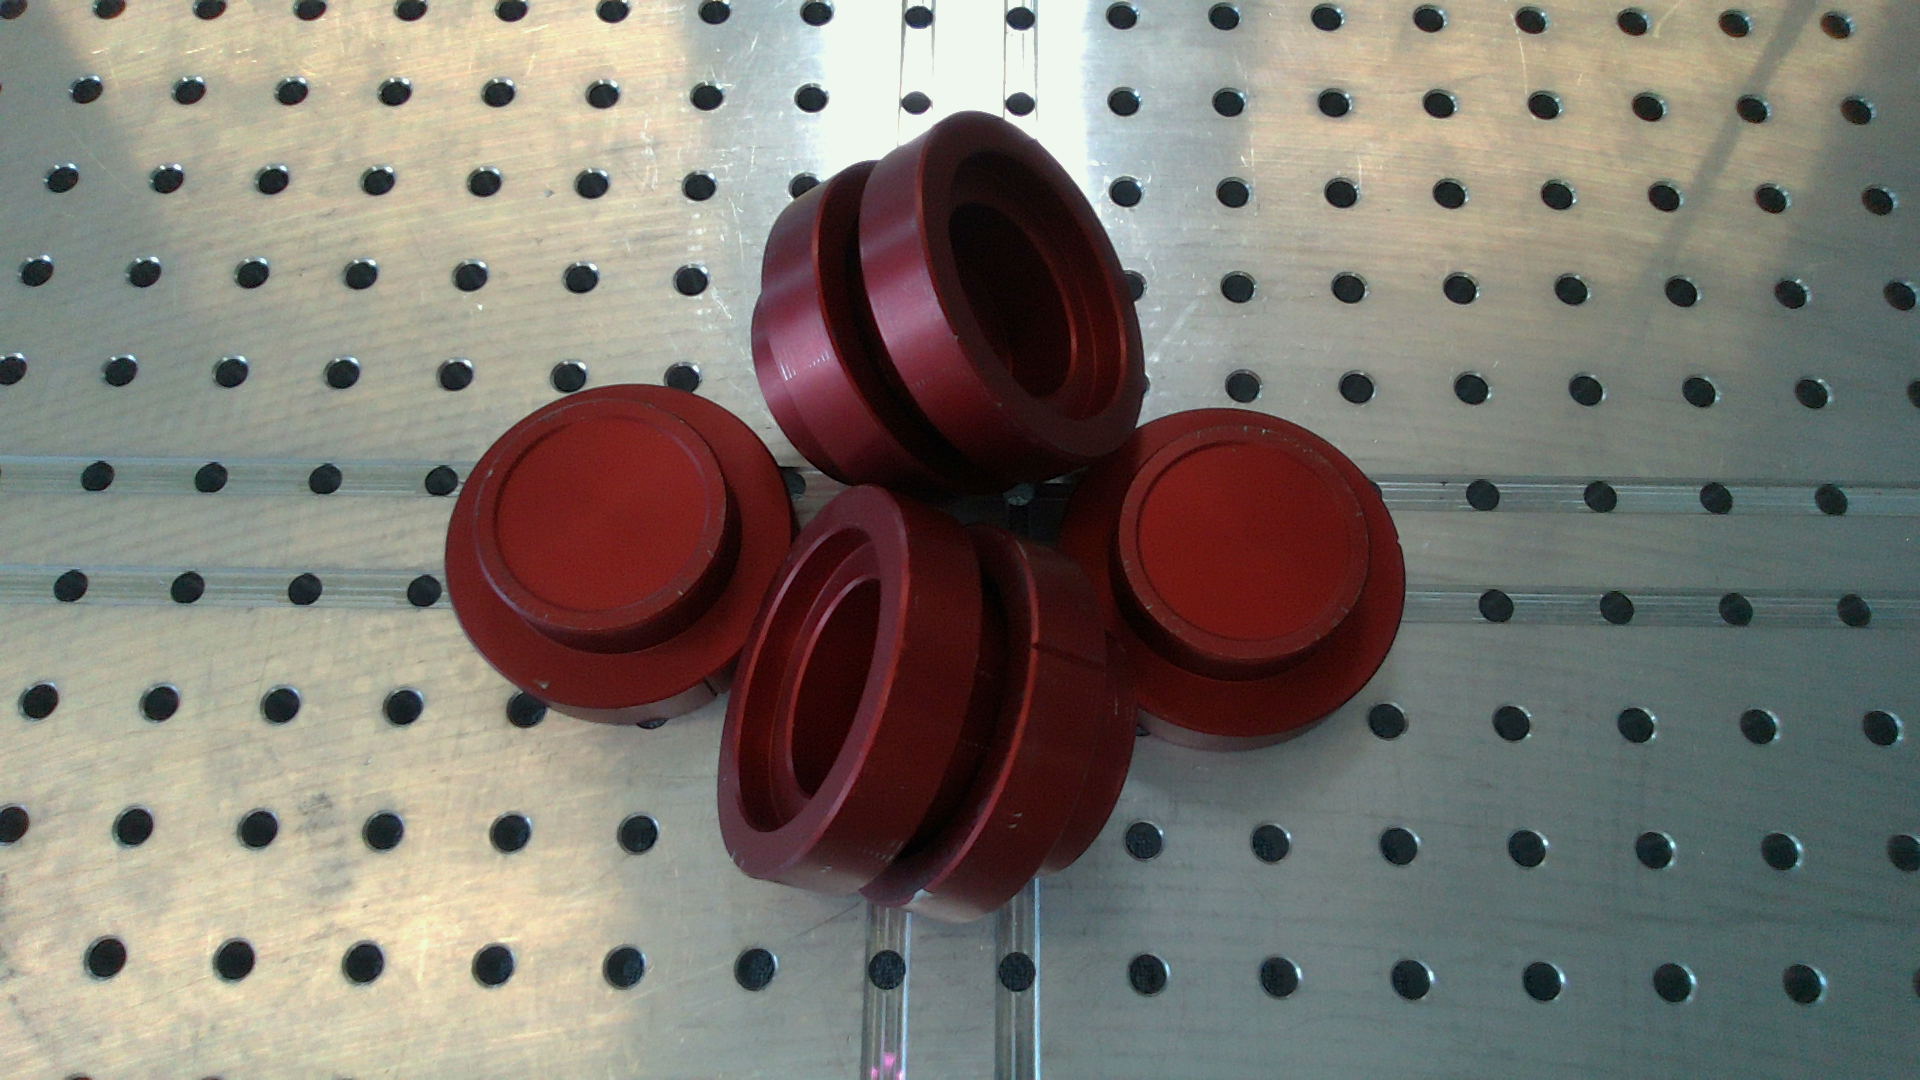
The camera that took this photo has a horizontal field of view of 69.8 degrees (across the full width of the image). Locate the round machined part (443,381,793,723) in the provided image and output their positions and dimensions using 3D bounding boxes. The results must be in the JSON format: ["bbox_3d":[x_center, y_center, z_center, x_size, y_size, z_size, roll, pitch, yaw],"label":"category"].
[{"bbox_3d":[-0.097,-0.001,0.388,0.098,0.042,0.098,0,70,0],"label":"round machined part"}]

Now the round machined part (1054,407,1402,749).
[{"bbox_3d":[0.075,0.007,0.386,0.098,0.042,0.098,0,70,0],"label":"round machined part"}]

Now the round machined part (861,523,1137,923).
[{"bbox_3d":[0.008,0.048,0.350,0.042,0.098,0.098,21,68,-26],"label":"round machined part"}]

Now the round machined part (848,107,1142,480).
[{"bbox_3d":[0.005,-0.062,0.374,0.042,0.098,0.098,-21,65,35],"label":"round machined part"}]

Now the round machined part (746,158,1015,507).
[{"bbox_3d":[-0.021,-0.054,0.390,0.042,0.098,0.098,-21,65,35],"label":"round machined part"}]

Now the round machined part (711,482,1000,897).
[{"bbox_3d":[-0.021,0.039,0.339,0.042,0.098,0.098,21,68,-26],"label":"round machined part"}]
